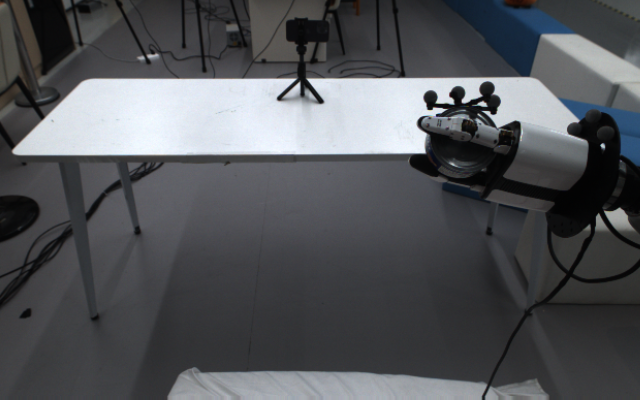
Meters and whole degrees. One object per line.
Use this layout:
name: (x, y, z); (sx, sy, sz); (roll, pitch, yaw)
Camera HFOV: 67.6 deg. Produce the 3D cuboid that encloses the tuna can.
tuna can: (0.177, -0.074, 0.605); (0.085, 0.034, 0.085); (0, 74, 1)
